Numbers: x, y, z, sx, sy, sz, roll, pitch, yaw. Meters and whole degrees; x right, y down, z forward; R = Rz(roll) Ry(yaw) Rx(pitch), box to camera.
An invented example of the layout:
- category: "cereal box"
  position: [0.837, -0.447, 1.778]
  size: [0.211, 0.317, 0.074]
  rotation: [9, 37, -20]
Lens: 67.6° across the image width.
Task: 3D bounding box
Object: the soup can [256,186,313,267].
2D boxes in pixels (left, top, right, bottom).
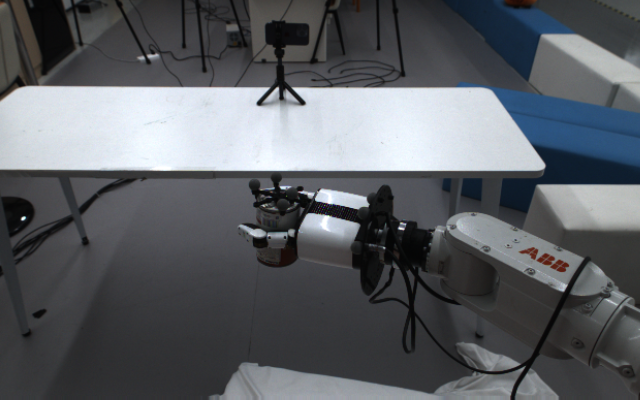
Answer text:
- category: "soup can"
  position: [-0.064, 0.044, 0.738]
  size: [0.067, 0.101, 0.067]
  rotation: [4, 30, -2]
